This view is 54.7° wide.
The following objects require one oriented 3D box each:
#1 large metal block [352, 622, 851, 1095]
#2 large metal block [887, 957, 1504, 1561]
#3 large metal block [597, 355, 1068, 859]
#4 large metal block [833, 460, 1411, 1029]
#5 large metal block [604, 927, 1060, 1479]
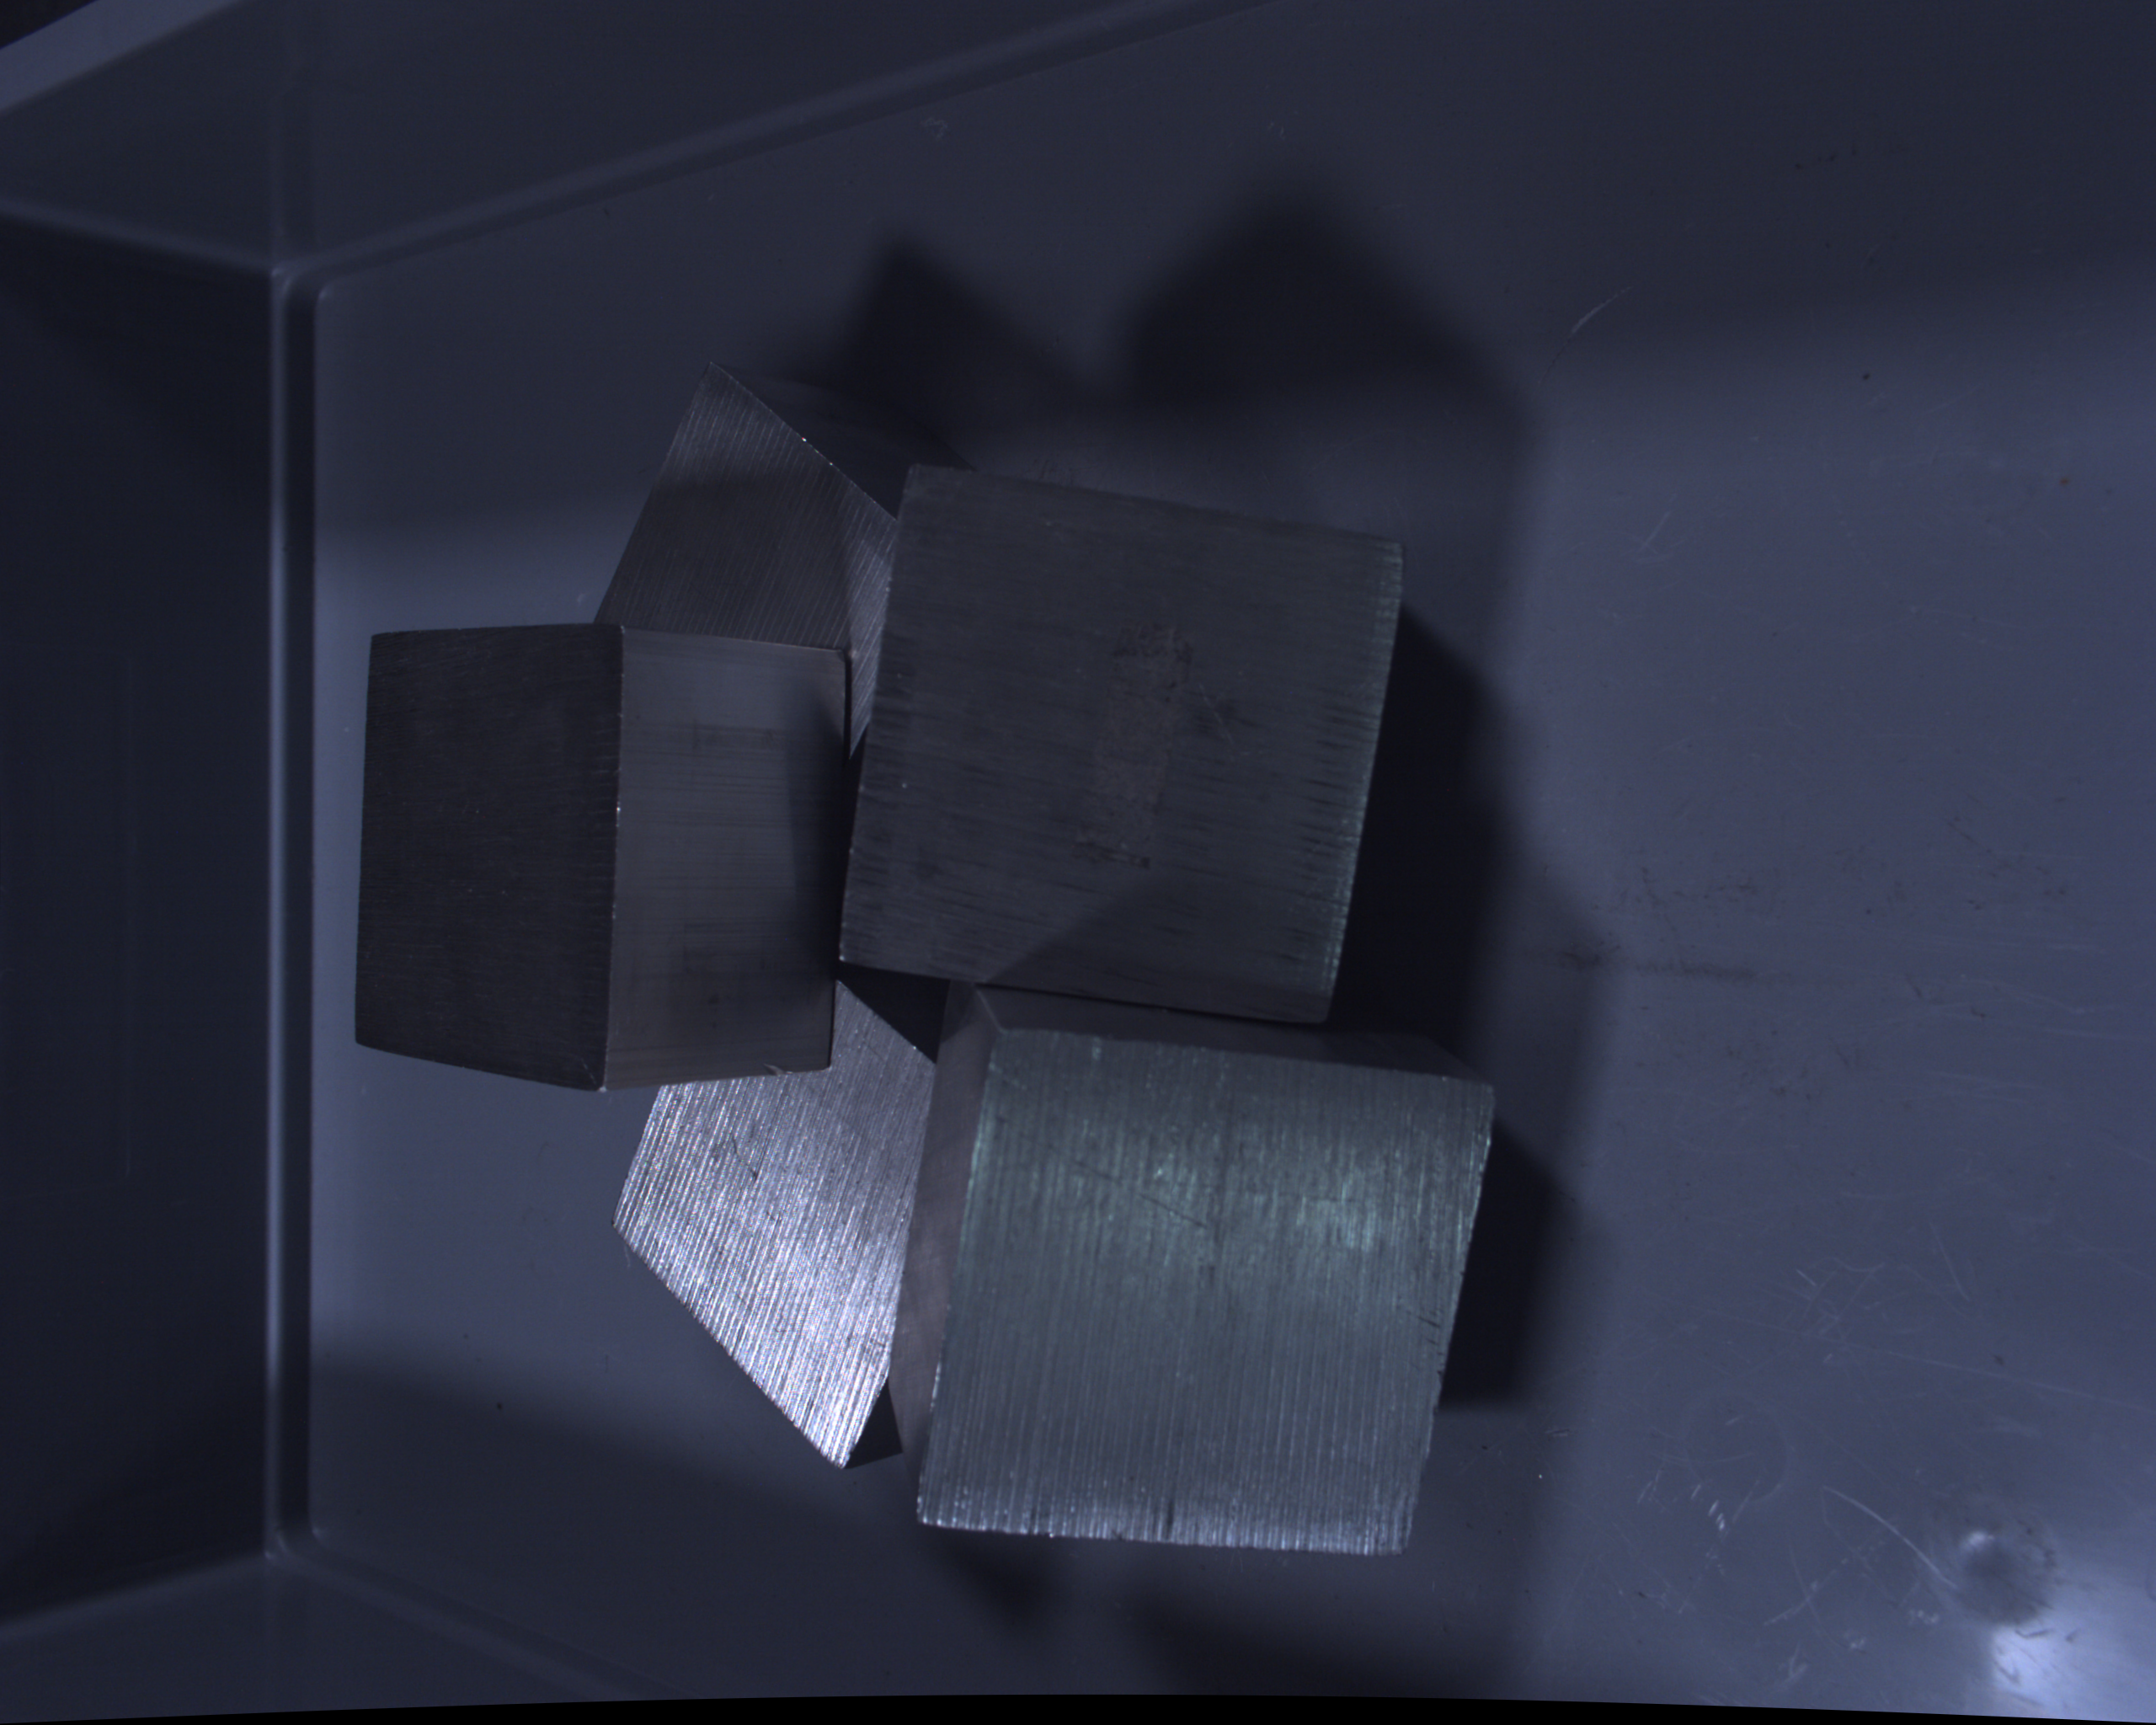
[{"bbox_3d":[-0.091,-0.002,0.394,0.080,0.050,0.079,4,91,40],"label":"large metal block"},{"bbox_3d":[0.016,0.064,0.345,0.050,0.081,0.079,-138,57,-76],"label":"large metal block"},{"bbox_3d":[-0.050,-0.045,0.428,0.080,0.050,0.080,43,116,31],"label":"large metal block"},{"bbox_3d":[0.005,-0.021,0.355,0.081,0.050,0.079,8,97,-6],"label":"large metal block"},{"bbox_3d":[-0.039,0.060,0.415,0.080,0.050,0.079,37,112,33],"label":"large metal block"}]
